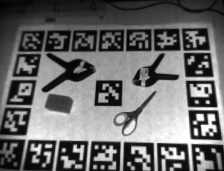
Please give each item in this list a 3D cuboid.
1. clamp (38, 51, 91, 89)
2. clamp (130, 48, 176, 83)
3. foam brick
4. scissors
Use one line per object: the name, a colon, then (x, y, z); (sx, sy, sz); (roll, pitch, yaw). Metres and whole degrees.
clamp: (-0.182, -0.069, 0.839); (0.202, 0.037, 0.165); (-3, 68, 3)
clamp: (0.142, -0.059, 0.812); (0.165, 0.037, 0.121); (-26, 78, -3)
foam brick: (-0.205, 0.059, 0.793); (0.077, 0.052, 0.052); (6, 73, 12)
scissors: (0.074, 0.080, 0.774); (0.087, 0.016, 0.203); (41, 78, 8)
